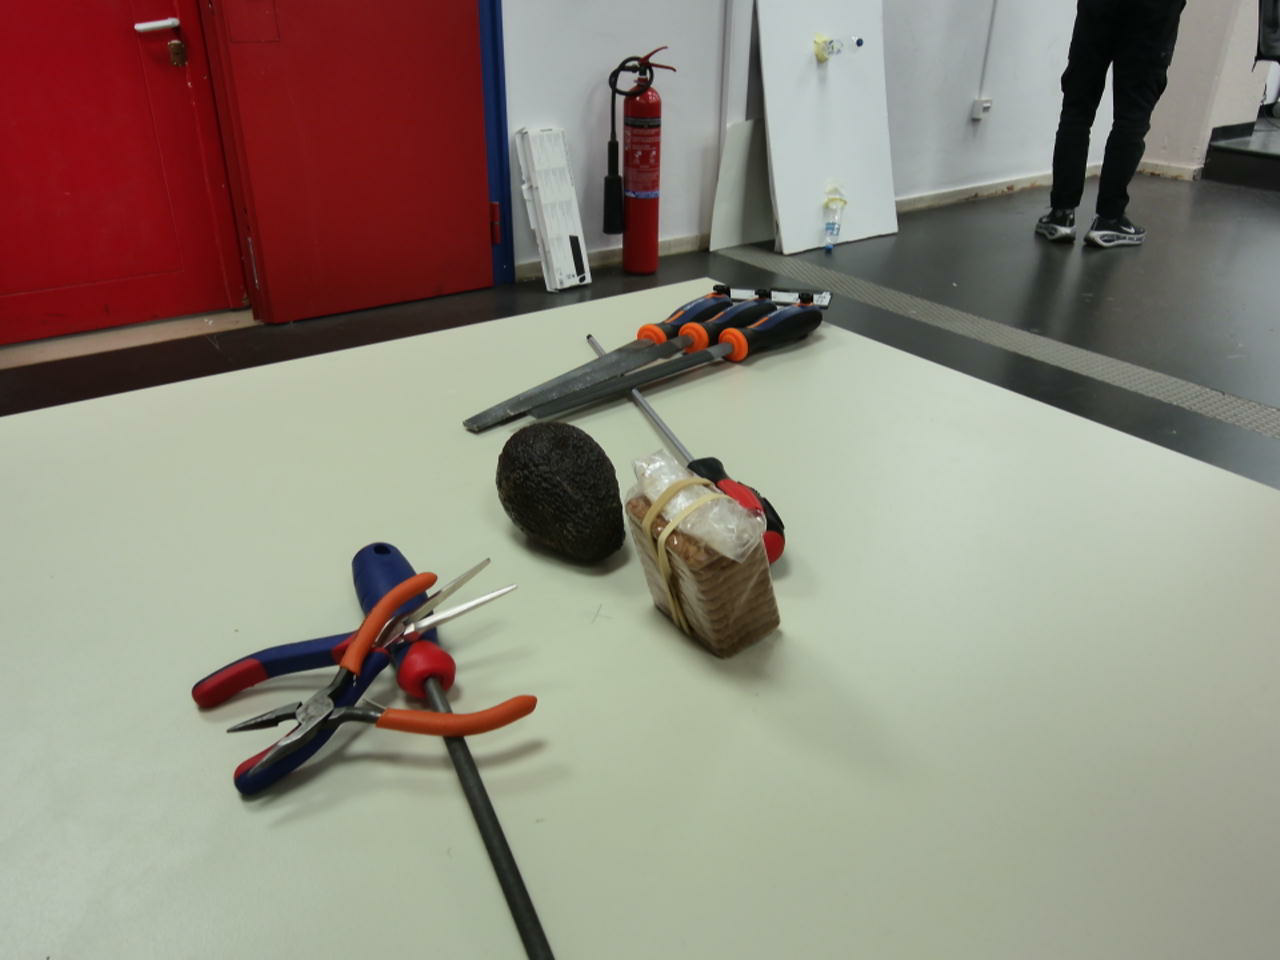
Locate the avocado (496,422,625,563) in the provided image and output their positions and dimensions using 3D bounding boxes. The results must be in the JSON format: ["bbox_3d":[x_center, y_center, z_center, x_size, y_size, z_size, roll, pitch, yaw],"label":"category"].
[{"bbox_3d":[-0.047,0.005,0.577,0.070,0.069,0.090,-4,26,-10],"label":"avocado"}]
